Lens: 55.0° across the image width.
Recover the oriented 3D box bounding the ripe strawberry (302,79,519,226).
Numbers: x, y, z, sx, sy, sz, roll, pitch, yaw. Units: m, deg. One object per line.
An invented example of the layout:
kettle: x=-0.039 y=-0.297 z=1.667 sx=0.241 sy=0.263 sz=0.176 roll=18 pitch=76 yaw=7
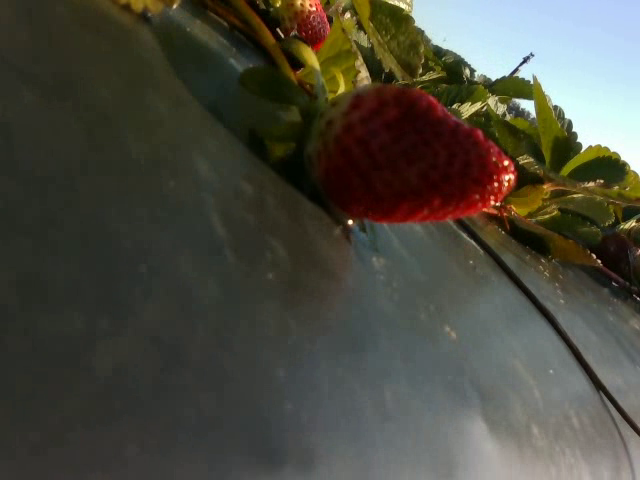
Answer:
ripe strawberry: x=0.016 y=-0.013 z=0.100 sx=0.041 sy=0.031 sz=0.028 roll=18 pitch=24 yaw=34
